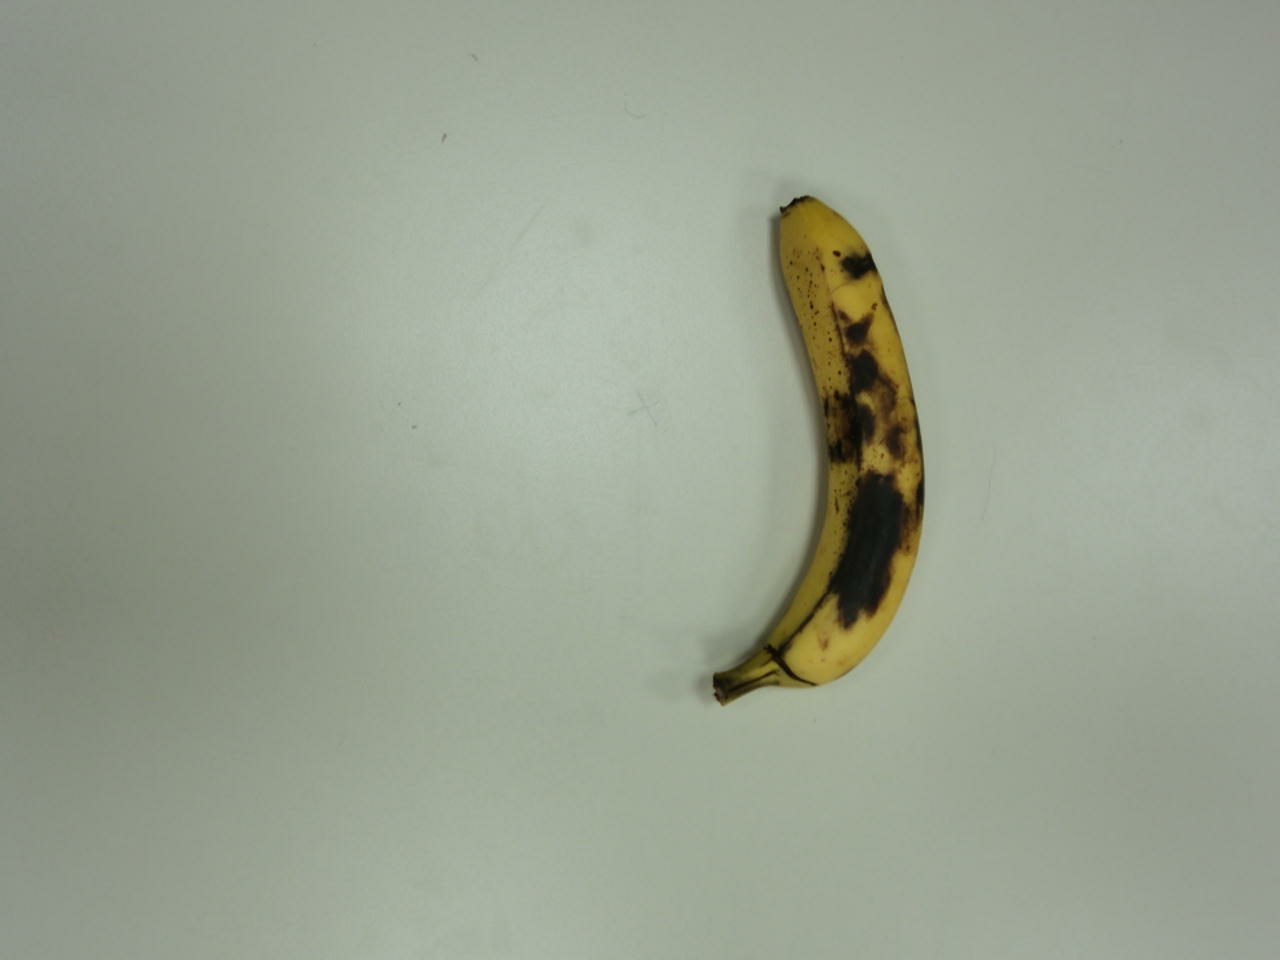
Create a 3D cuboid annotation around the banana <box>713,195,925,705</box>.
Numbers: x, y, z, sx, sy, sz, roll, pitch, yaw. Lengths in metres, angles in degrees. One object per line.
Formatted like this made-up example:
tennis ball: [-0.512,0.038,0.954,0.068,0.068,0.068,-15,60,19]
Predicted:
banana: [0.087,-0.009,0.436,0.084,0.037,0.222,10,88,-11]
